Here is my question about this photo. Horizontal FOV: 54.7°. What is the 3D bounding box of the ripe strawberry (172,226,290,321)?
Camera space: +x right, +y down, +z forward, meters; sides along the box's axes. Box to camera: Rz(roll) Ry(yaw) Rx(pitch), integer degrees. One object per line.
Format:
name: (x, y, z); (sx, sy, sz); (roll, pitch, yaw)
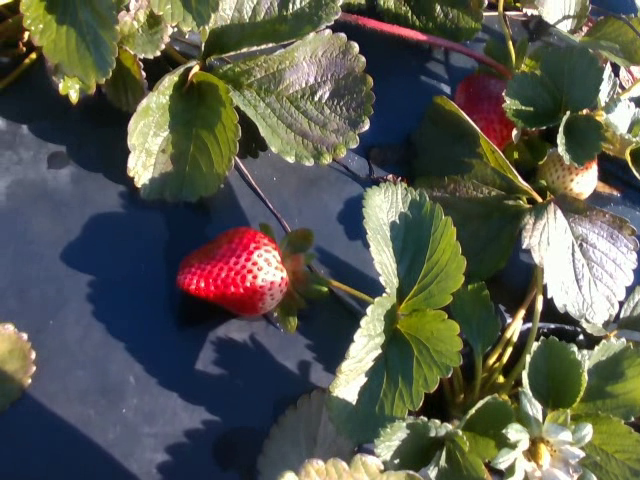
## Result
ripe strawberry: (-0.035, 0.014, 0.244); (0.055, 0.042, 0.044); (-7, 14, -29)
